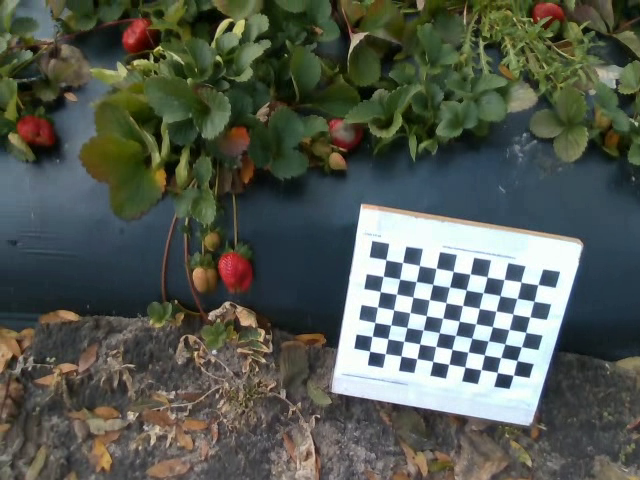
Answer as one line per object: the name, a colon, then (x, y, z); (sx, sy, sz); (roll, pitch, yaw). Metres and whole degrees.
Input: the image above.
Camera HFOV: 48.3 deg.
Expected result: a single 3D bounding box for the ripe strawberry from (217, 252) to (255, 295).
ripe strawberry: (-0.132, 0.053, 1.069); (0.066, 0.075, 0.053); (-9, 19, 7)
